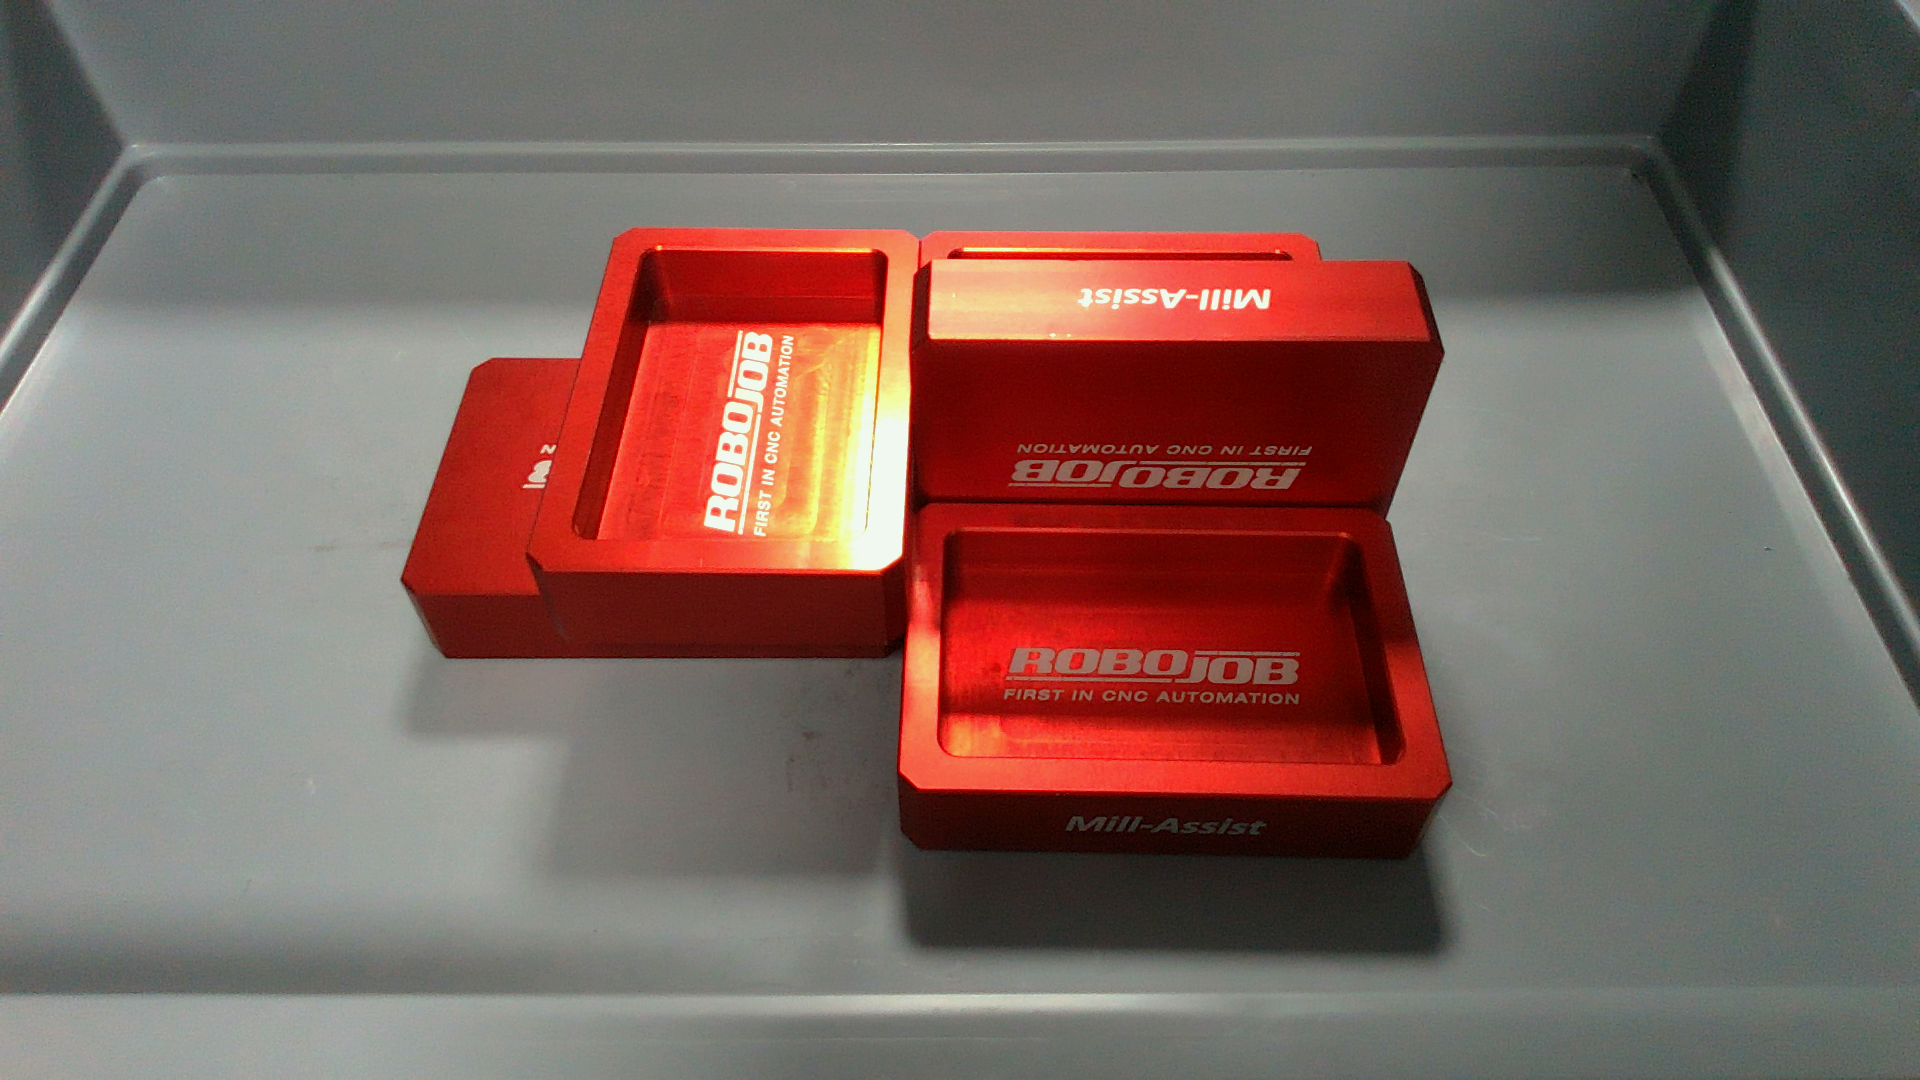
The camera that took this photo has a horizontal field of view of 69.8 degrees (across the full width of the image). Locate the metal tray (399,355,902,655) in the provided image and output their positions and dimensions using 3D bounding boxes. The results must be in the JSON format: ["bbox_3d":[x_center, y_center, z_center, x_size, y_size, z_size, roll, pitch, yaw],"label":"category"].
[{"bbox_3d":[-0.081,-0.012,0.395,0.130,0.030,0.090,0,50,0],"label":"metal tray"}]

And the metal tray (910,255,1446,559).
[{"bbox_3d":[0.053,-0.032,0.373,0.130,0.090,0.030,0,50,1],"label":"metal tray"}]

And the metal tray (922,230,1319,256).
[{"bbox_3d":[0.051,-0.058,0.436,0.130,0.030,0.090,1,50,1],"label":"metal tray"}]

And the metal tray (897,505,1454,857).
[{"bbox_3d":[0.051,0.034,0.358,0.130,0.030,0.090,1,50,0],"label":"metal tray"}]

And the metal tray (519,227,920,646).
[{"bbox_3d":[-0.058,-0.033,0.374,0.090,0.030,0.130,1,50,1],"label":"metal tray"}]
